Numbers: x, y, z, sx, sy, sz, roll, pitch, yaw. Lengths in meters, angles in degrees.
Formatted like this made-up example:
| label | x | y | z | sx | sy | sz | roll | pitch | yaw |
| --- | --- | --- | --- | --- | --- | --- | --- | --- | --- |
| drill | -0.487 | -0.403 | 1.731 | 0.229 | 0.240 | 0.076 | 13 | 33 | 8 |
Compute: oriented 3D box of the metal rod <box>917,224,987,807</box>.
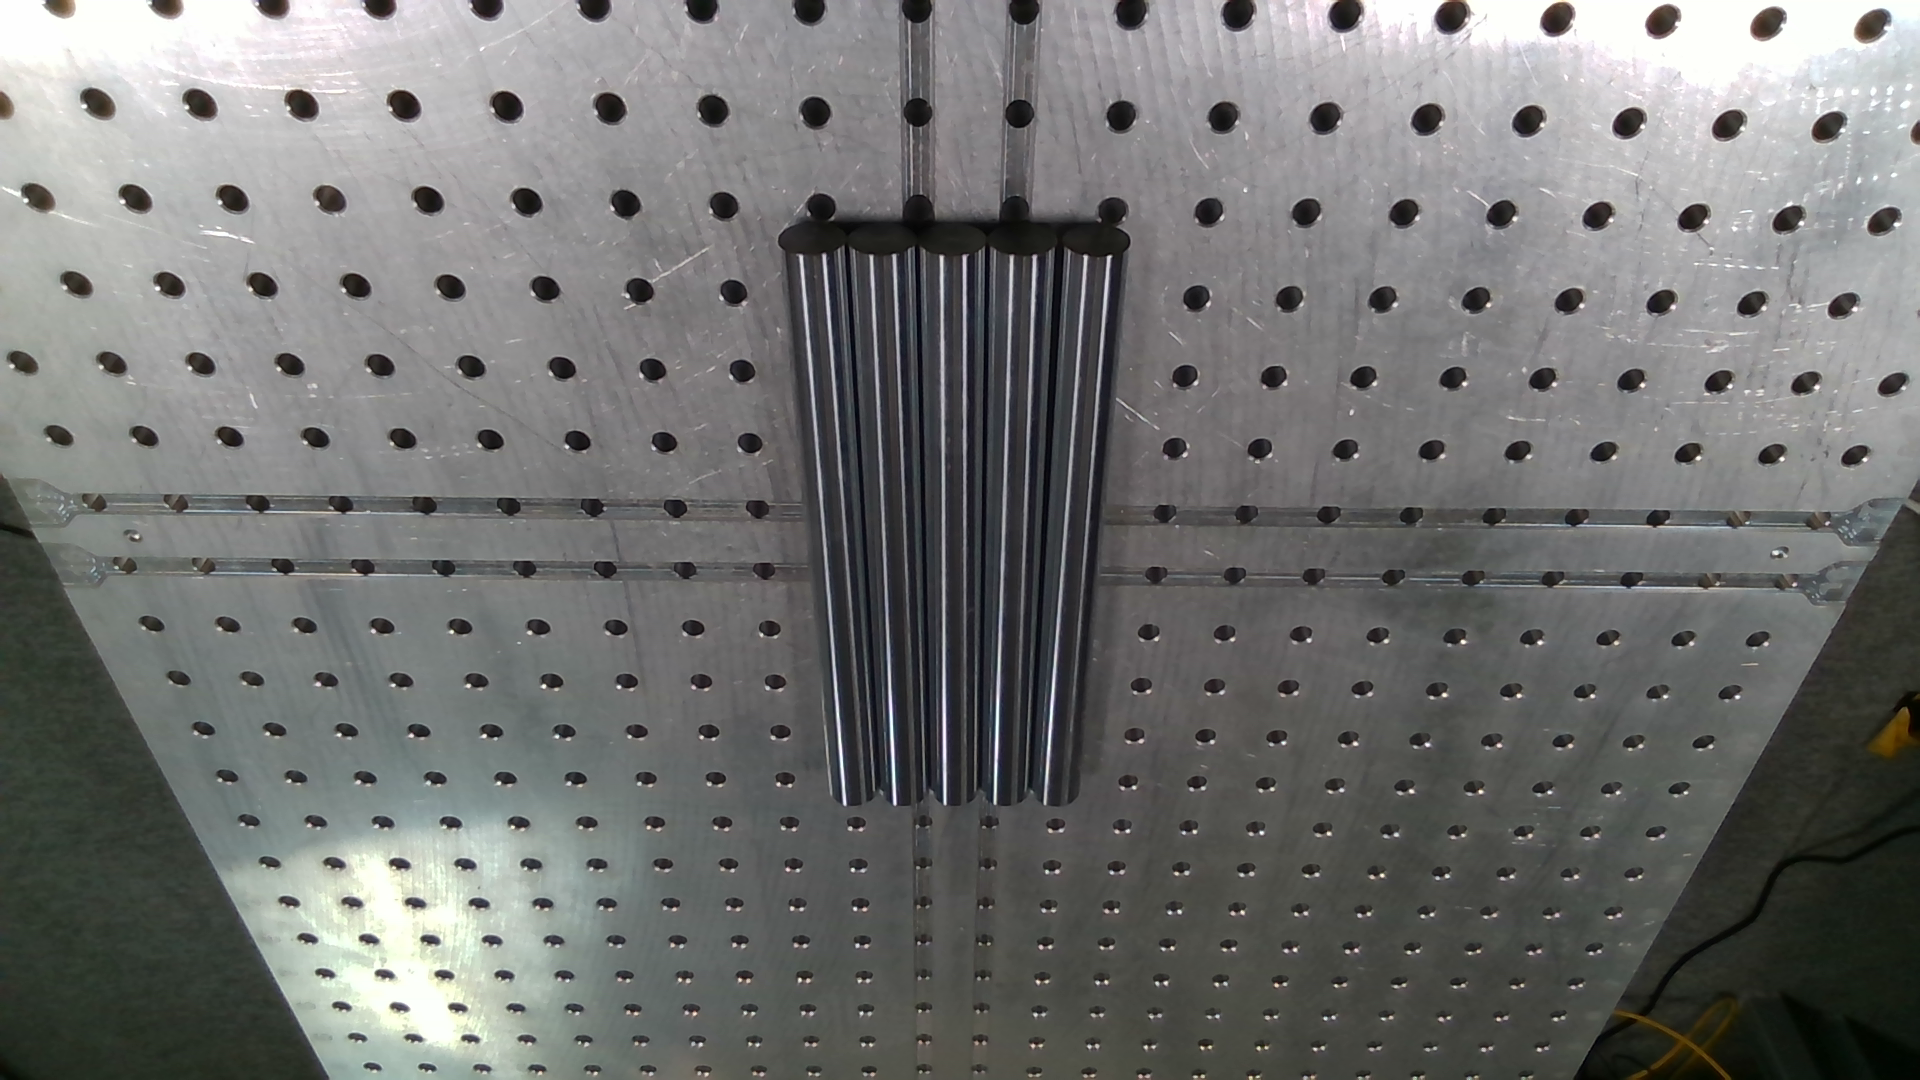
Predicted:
| label | x | y | z | sx | sy | sz | roll | pitch | yaw |
| --- | --- | --- | --- | --- | --- | --- | --- | --- | --- |
| metal rod | -0.003 | 0.008 | 0.589 | 0.025 | 0.025 | 0.301 | 0 | 130 | 0 |

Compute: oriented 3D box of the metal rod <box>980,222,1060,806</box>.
| label | x | y | z | sx | sy | sz | roll | pitch | yaw |
| --- | --- | --- | --- | --- | --- | --- | --- | --- | --- |
| metal rod | 0.022 | 0.007 | 0.588 | 0.025 | 0.025 | 0.301 | 0 | 130 | 0 |

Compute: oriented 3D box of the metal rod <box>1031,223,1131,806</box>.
| label | x | y | z | sx | sy | sz | roll | pitch | yaw |
| --- | --- | --- | --- | --- | --- | --- | --- | --- | --- |
| metal rod | 0.048 | 0.008 | 0.589 | 0.025 | 0.025 | 0.301 | 0 | 130 | 0 |

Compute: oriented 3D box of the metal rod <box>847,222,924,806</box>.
| label | x | y | z | sx | sy | sz | roll | pitch | yaw |
| --- | --- | --- | --- | --- | --- | --- | --- | --- | --- |
| metal rod | -0.029 | 0.008 | 0.588 | 0.025 | 0.025 | 0.301 | 0 | 130 | 0 |

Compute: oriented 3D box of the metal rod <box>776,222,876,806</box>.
| label | x | y | z | sx | sy | sz | roll | pitch | yaw |
| --- | --- | --- | --- | --- | --- | --- | --- | --- | --- |
| metal rod | -0.053 | 0.007 | 0.588 | 0.025 | 0.025 | 0.301 | 0 | 130 | 0 |
